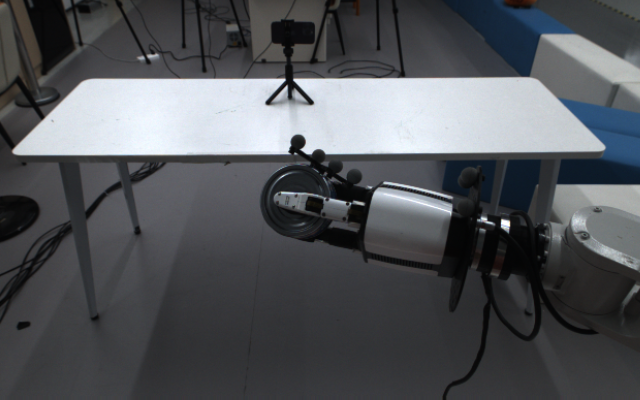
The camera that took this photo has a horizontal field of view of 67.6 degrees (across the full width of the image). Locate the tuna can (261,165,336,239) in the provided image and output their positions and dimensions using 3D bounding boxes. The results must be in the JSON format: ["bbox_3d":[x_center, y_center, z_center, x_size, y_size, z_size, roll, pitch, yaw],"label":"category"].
[{"bbox_3d":[-0.021,0.008,0.556,0.085,0.085,0.034,13,-5,15],"label":"tuna can"}]
